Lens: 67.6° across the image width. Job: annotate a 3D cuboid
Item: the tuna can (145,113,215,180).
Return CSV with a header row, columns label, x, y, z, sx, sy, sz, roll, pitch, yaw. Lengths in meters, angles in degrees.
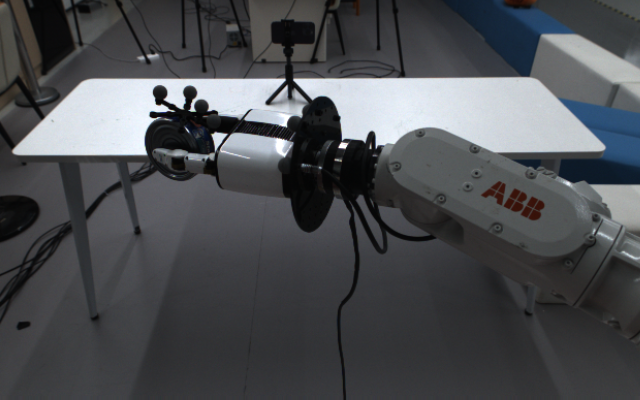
label,x,y,z,sx,sy,sz,roll,pitch,yaw
tuna can,-0.180,-0.068,0.622,0.085,0.085,0.034,15,31,18
